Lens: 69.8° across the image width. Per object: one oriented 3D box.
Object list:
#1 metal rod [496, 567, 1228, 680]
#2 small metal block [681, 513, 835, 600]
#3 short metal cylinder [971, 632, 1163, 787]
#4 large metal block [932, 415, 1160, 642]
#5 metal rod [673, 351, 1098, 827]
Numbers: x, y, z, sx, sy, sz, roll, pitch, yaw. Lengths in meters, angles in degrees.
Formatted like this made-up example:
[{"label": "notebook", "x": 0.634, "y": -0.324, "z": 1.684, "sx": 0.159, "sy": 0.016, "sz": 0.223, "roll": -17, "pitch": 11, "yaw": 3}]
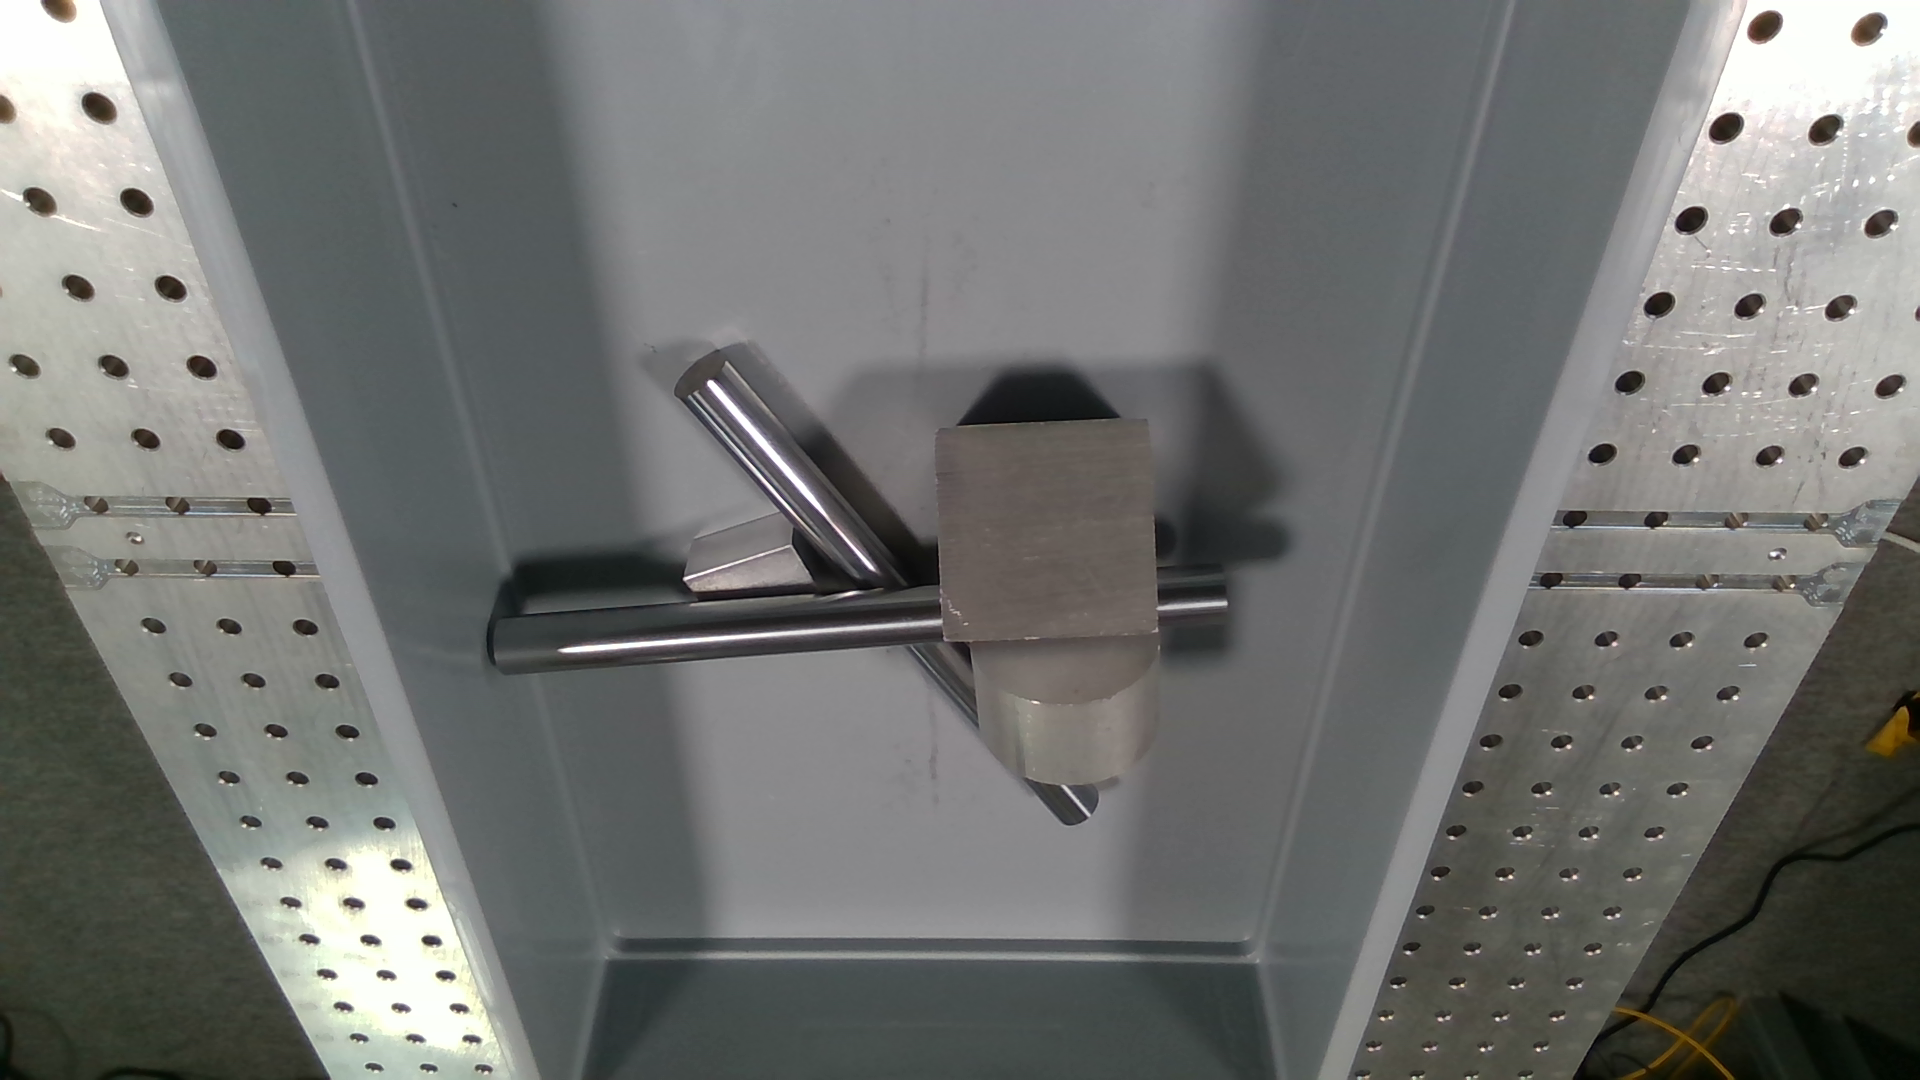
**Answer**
[{"label": "metal rod", "x": -0.041, "y": 0.035, "z": 0.573, "sx": 0.300, "sy": 0.025, "sz": 0.025, "roll": -4, "pitch": 130, "yaw": 2}, {"label": "small metal block", "x": -0.084, "y": 0.019, "z": 0.593, "sx": 0.050, "sy": 0.025, "sz": 0.050, "roll": -17, "pitch": 128, "yaw": 14}, {"label": "short metal cylinder", "x": 0.046, "y": 0.058, "z": 0.590, "sx": 0.080, "sy": 0.080, "sz": 0.050, "roll": -3, "pitch": 131, "yaw": 3}, {"label": "large metal block", "x": 0.033, "y": -0.004, "z": 0.533, "sx": 0.080, "sy": 0.050, "sz": 0.080, "roll": -3, "pitch": 89, "yaw": 2}, {"label": "metal rod", "x": -0.021, "y": 0.035, "z": 0.606, "sx": 0.025, "sy": 0.025, "sz": 0.301, "roll": -25, "pitch": 126, "yaw": 20}]
